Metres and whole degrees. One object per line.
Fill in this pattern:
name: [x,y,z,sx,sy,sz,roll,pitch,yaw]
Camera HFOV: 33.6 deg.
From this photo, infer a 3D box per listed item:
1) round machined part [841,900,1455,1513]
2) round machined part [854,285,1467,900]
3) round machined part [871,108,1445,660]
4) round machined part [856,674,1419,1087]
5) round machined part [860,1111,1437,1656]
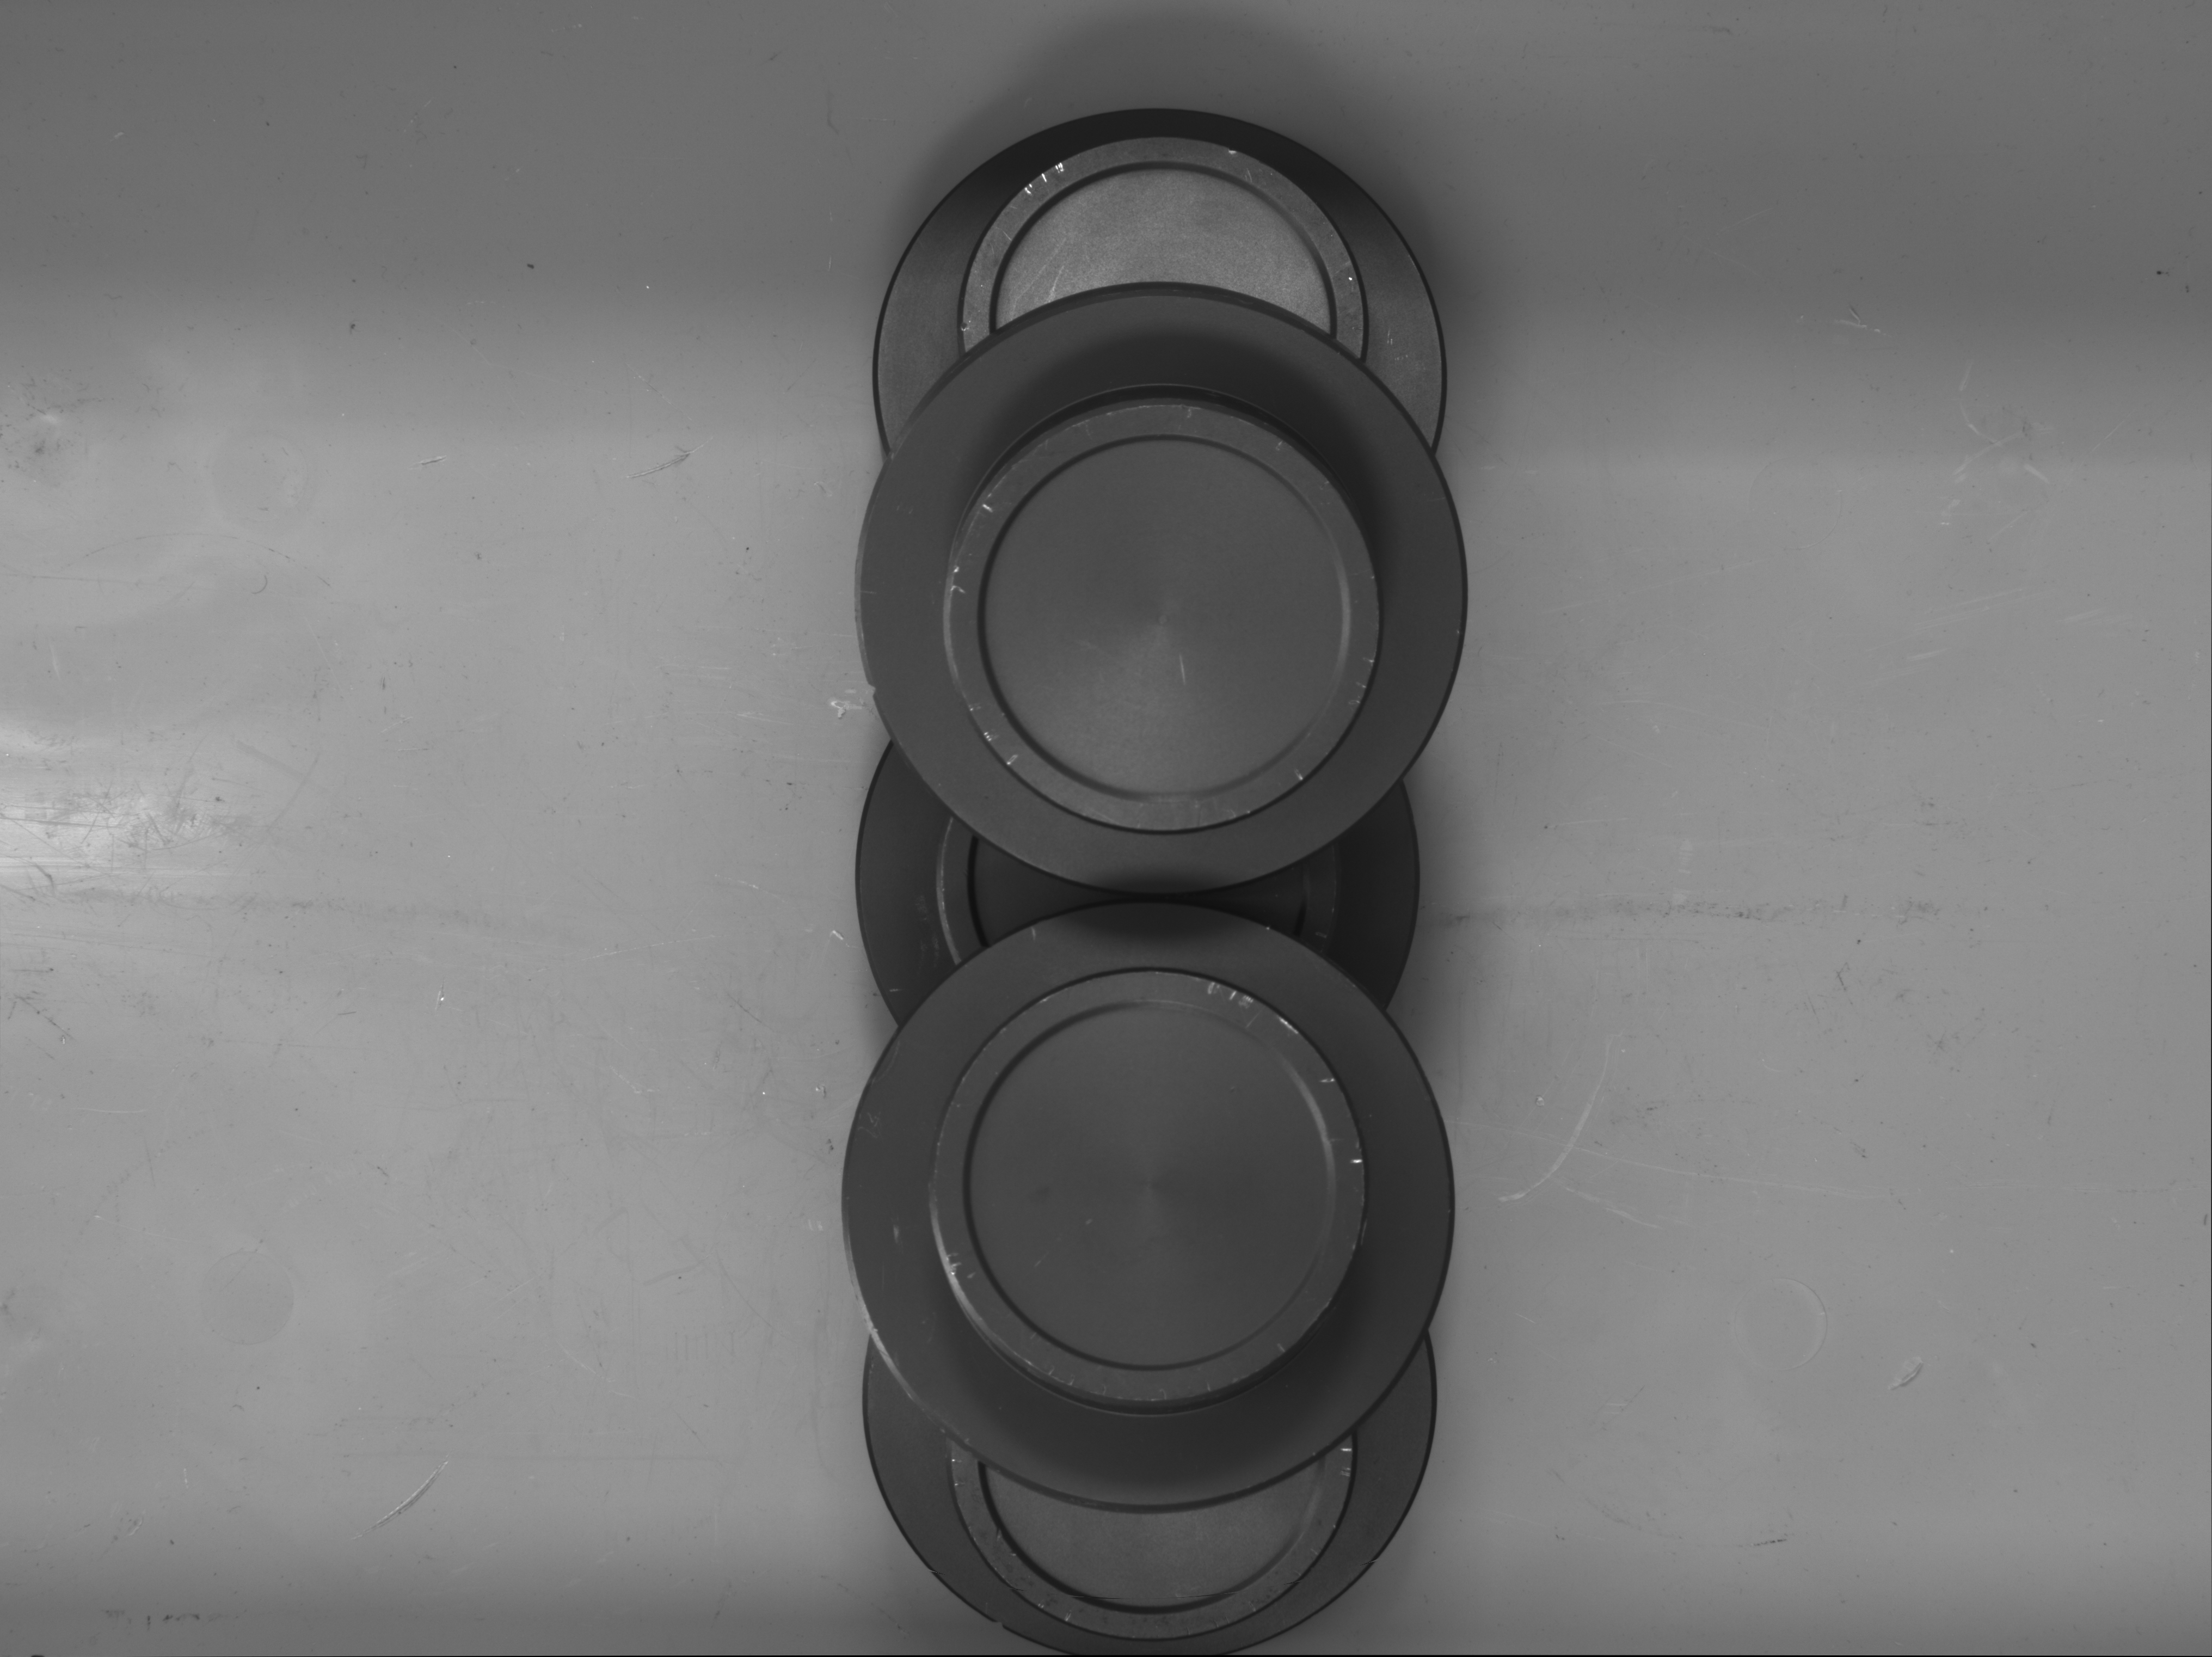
round machined part: [0.007,0.059,0.585,0.098,0.042,0.098,0,79,0]
round machined part: [0.009,-0.036,0.584,0.098,0.042,0.098,0,102,0]
round machined part: [0.009,-0.079,0.625,0.098,0.042,0.098,0,74,0]
round machined part: [0.005,0.008,0.636,0.098,0.042,0.098,0,89,0]
round machined part: [0.007,0.100,0.622,0.098,0.042,0.098,0,105,0]
